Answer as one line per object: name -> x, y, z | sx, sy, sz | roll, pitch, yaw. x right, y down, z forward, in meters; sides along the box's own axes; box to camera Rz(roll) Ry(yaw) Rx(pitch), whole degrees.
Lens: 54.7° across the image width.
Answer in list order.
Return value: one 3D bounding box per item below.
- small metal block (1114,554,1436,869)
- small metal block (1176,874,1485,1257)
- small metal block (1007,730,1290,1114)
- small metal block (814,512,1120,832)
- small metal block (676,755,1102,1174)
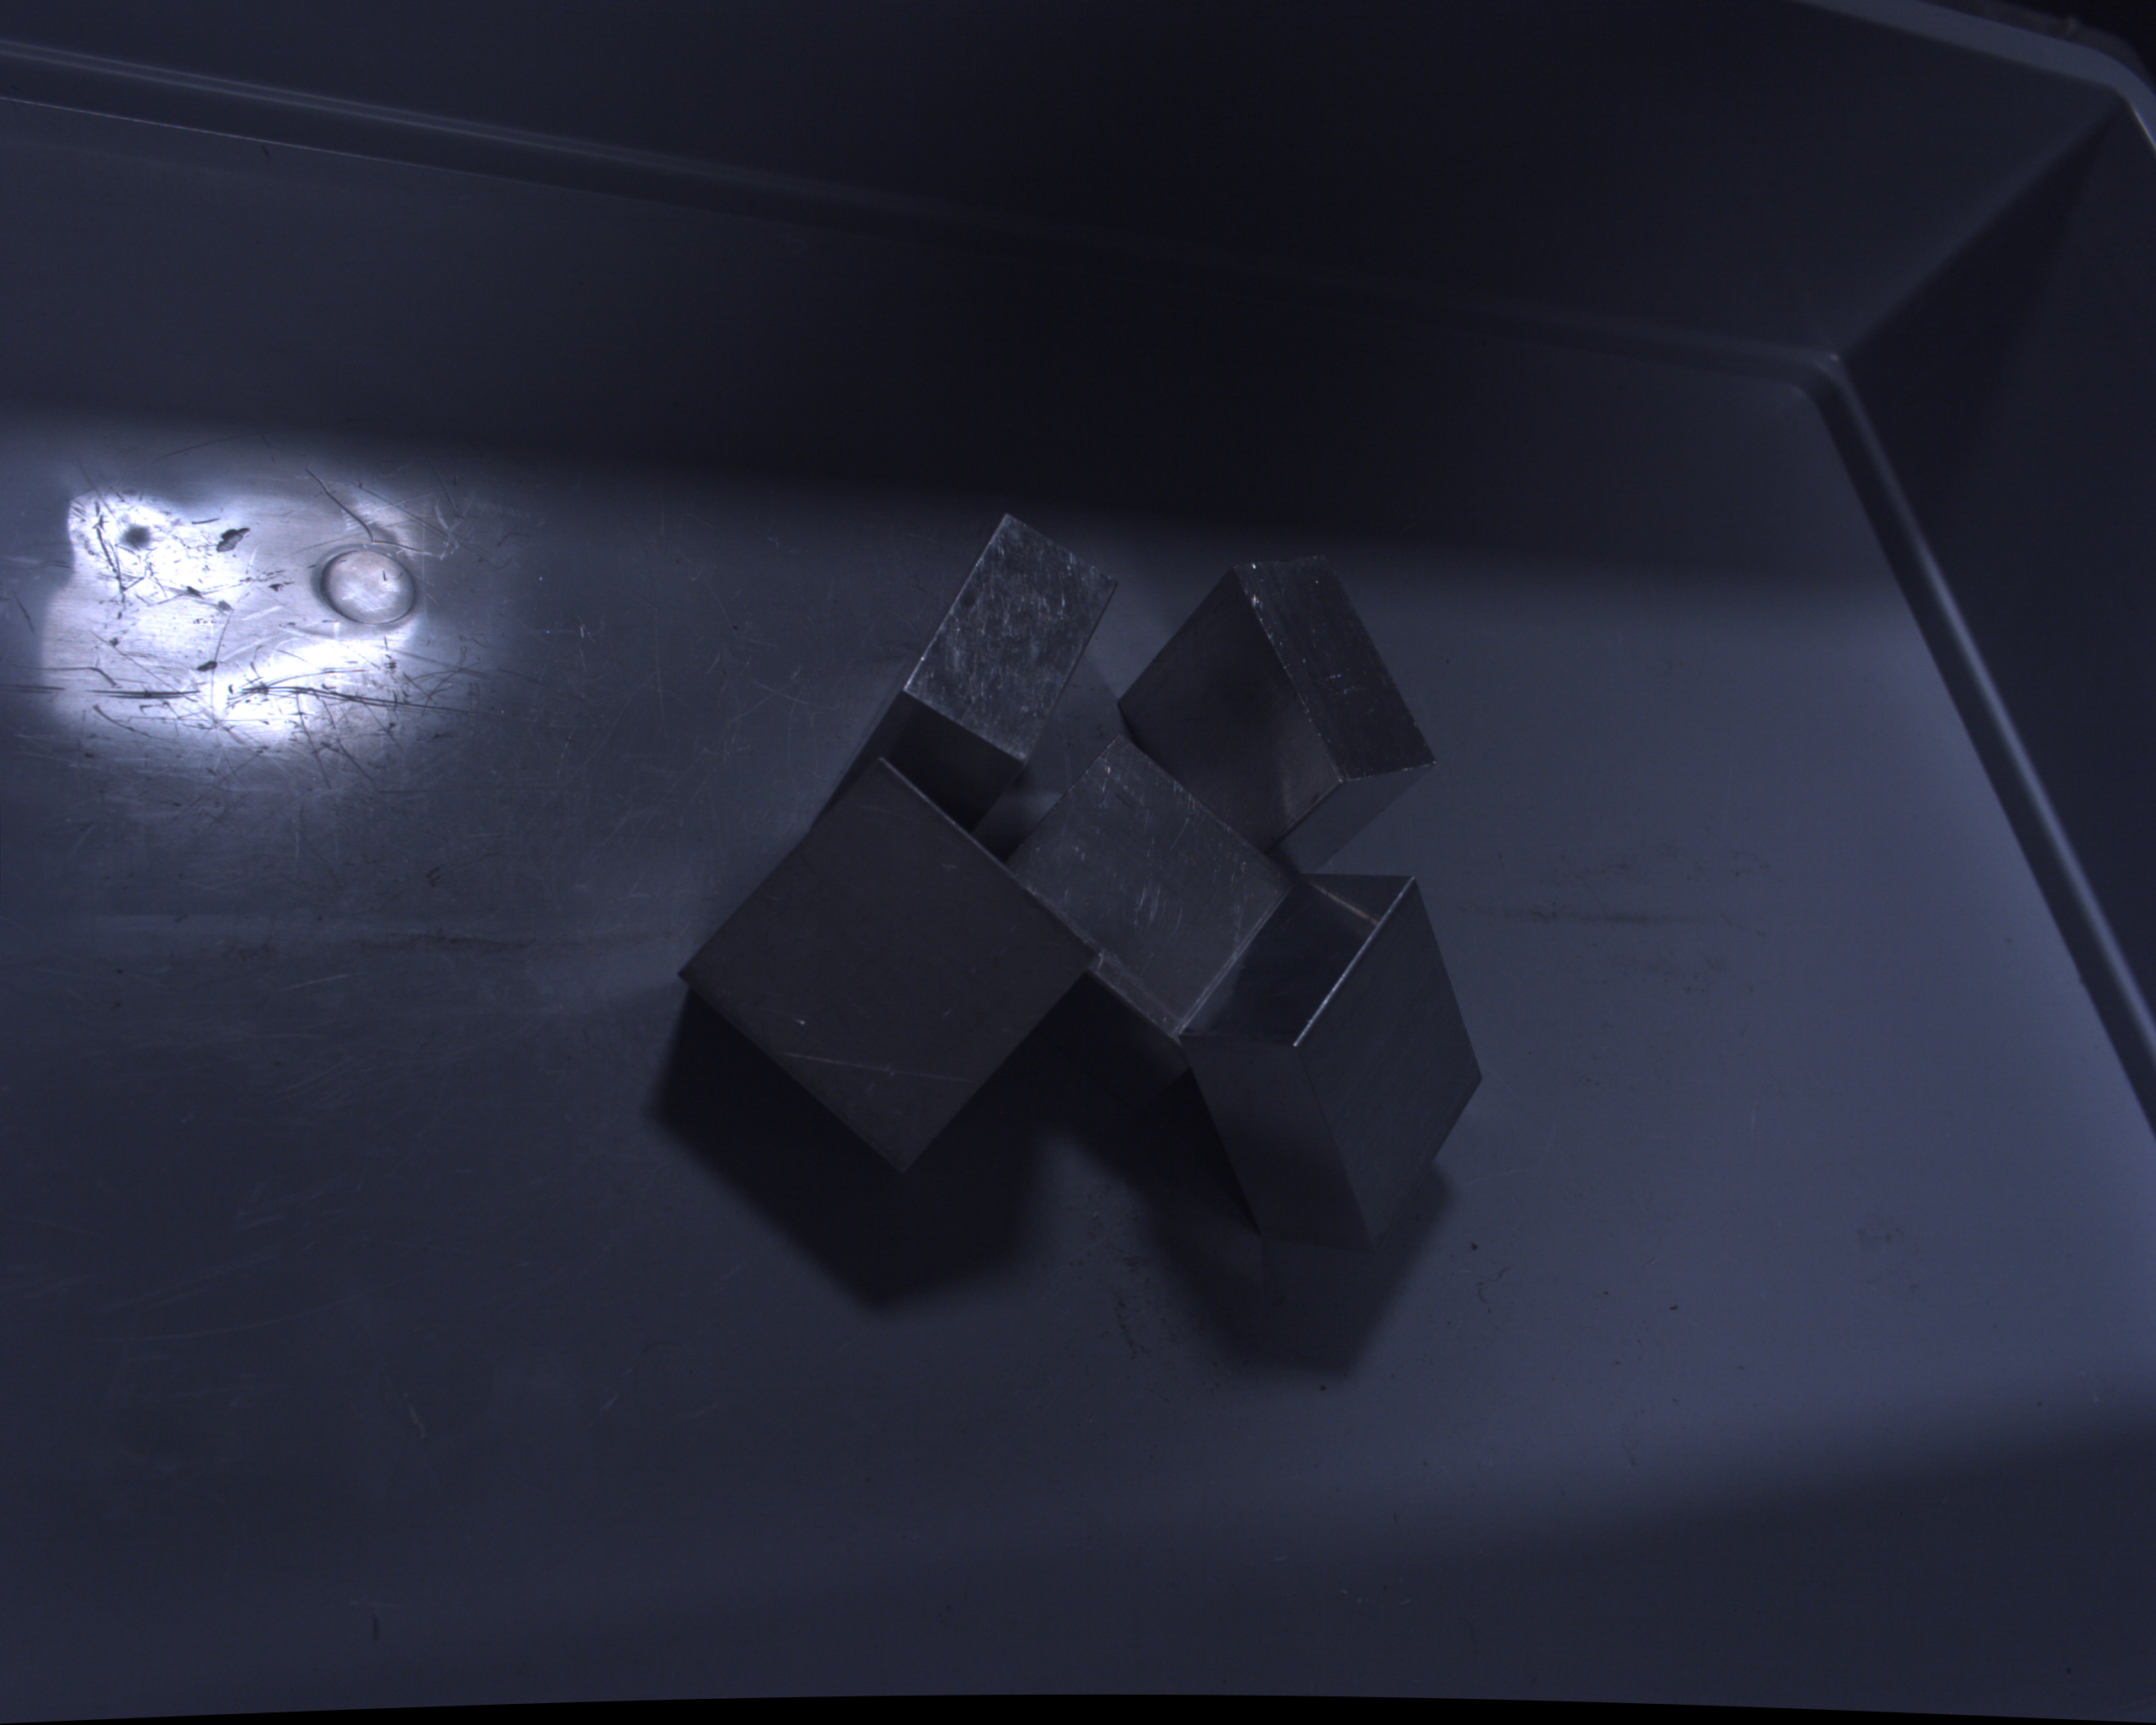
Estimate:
small metal block -> 0.039, -0.027, 0.426 | 0.025, 0.050, 0.050 | -12, 68, -34
small metal block -> 0.049, 0.037, 0.392 | 0.050, 0.025, 0.050 | -49, 127, -40
small metal block -> 0.009, 0.011, 0.402 | 0.050, 0.025, 0.050 | 41, 51, -1
small metal block -> -0.022, -0.030, 0.394 | 0.025, 0.050, 0.050 | 32, 51, -8
small metal block -> -0.032, 0.018, 0.362 | 0.050, 0.025, 0.050 | 42, 84, 0
